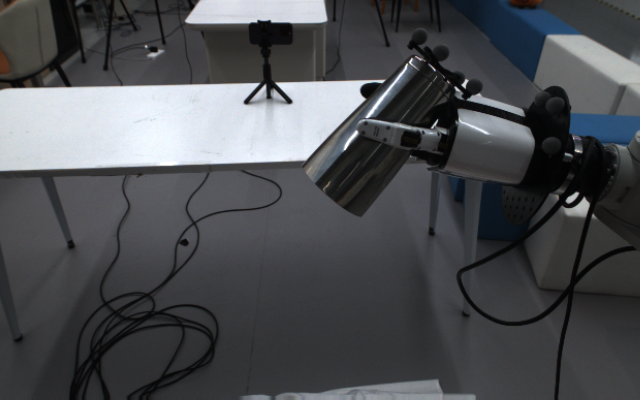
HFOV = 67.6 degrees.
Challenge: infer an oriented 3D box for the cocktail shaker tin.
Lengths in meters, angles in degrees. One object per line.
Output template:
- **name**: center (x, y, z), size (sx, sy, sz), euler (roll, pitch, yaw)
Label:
- **cocktail shaker tin**: center (0.070, -0.078, 0.545), size (0.093, 0.170, 0.093), euler (41, 12, -11)
